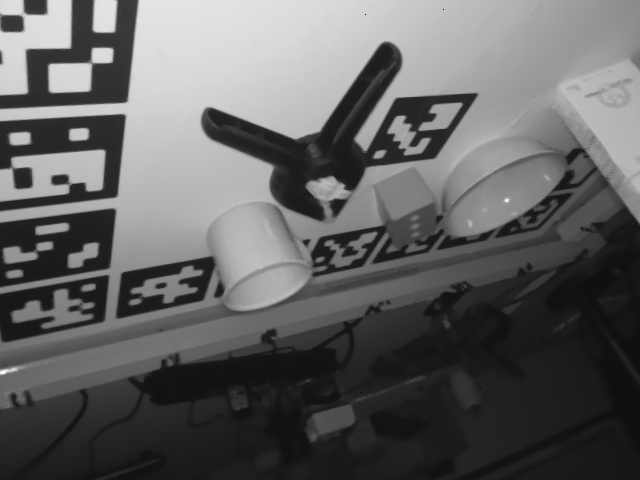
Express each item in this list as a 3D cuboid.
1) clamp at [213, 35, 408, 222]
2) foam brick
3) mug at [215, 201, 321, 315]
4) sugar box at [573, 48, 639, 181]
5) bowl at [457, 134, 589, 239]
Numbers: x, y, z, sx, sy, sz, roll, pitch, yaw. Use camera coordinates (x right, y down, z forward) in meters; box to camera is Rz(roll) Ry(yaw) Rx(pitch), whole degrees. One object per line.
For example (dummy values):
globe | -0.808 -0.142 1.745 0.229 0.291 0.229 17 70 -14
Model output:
clamp | 0.006 -0.078 0.622 0.166 0.036 0.202 -24 149 -6
foam brick | 0.104 -0.042 0.761 0.053 0.051 0.078 -25 149 -2
mug | -0.048 0.017 0.695 0.119 0.081 0.092 13 133 -43
sugar box | 0.339 -0.112 0.689 0.093 0.176 0.045 -22 148 -3
bowl | 0.219 -0.070 0.787 0.163 0.055 0.160 -18 149 -10
